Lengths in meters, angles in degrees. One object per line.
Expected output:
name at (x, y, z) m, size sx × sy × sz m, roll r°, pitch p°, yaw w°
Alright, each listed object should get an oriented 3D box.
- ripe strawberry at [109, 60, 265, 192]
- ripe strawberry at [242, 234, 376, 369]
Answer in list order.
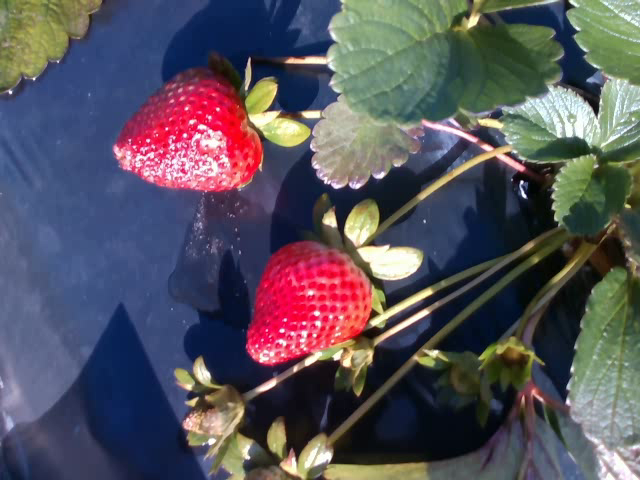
ripe strawberry at (-0.047, -0.035, 0.208) m, size 0.050 × 0.051 × 0.044 m, roll -17°, pitch -4°, yaw -23°
ripe strawberry at (-0.006, 0.022, 0.189) m, size 0.042 × 0.039 × 0.049 m, roll 18°, pitch 48°, yaw 42°
